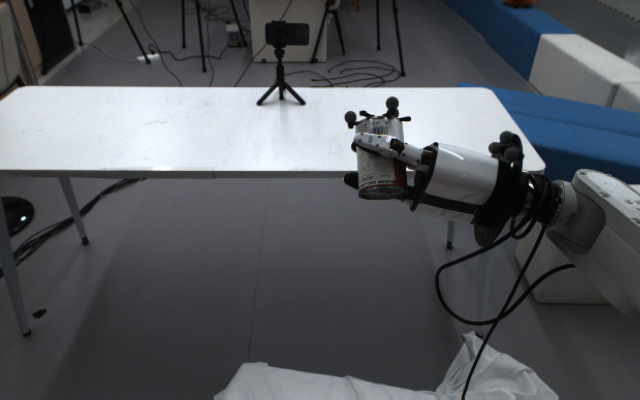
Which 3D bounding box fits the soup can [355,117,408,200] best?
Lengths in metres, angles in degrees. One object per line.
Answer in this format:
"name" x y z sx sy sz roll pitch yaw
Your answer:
"soup can" 0.086 -0.057 0.667 0.067 0.067 0.101 -2 76 -5
